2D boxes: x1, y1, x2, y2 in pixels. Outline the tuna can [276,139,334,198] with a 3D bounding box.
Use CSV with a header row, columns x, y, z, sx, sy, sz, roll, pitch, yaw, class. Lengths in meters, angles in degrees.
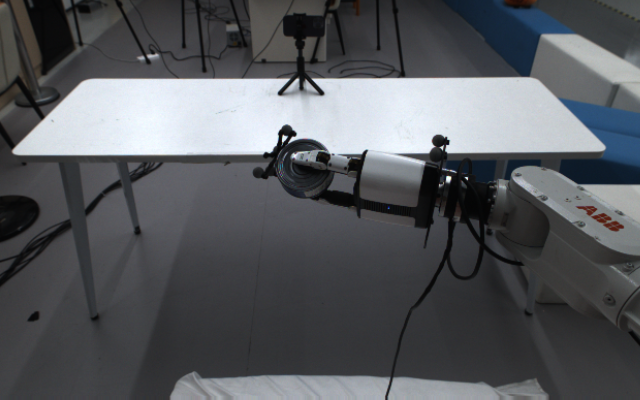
x,y,z,sx,sy,sz,roll,pitch,yaw,class
-0.020,-0.044,0.718,0.085,0.034,0.085,-2,72,6,tuna can
